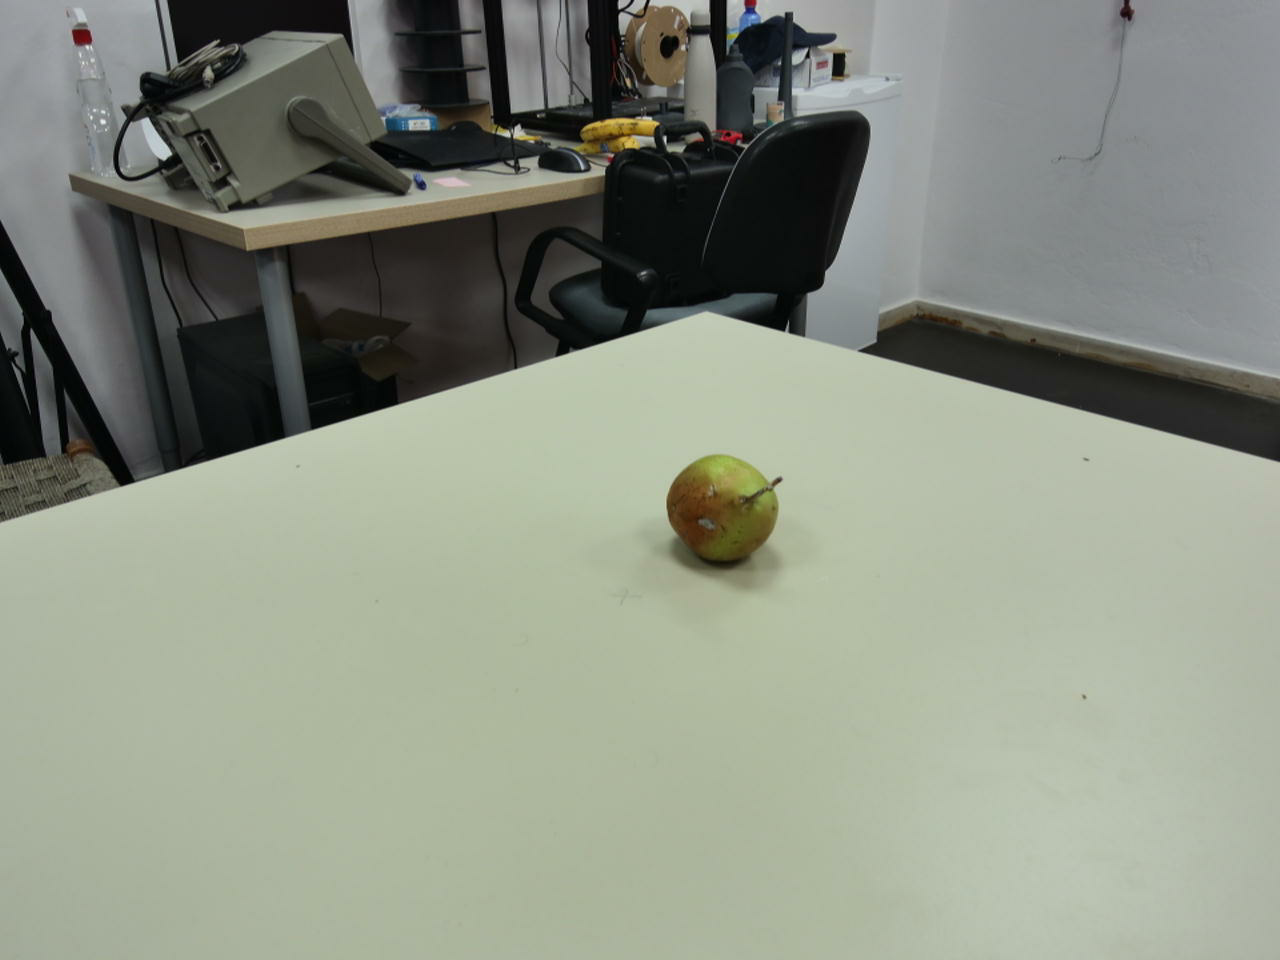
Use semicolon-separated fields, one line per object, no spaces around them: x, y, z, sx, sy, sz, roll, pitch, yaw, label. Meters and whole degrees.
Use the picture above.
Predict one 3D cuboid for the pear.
0.049;0.015;0.600;0.068;0.069;0.070;5;25;8;pear
